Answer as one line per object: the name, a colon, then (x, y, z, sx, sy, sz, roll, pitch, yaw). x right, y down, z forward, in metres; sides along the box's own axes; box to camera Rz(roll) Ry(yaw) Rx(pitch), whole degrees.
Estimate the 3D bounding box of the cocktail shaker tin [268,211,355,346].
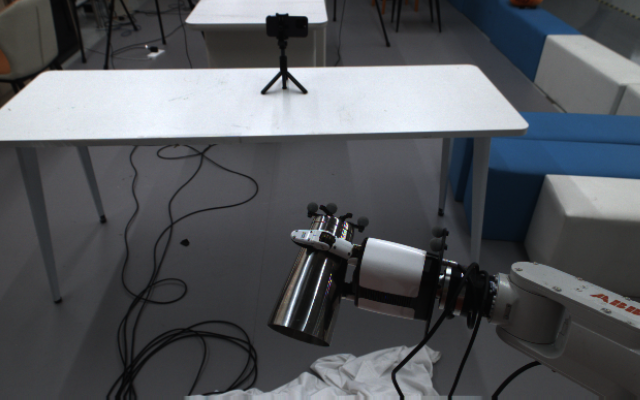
cocktail shaker tin: (-0.002, 0.108, 0.693, 0.093, 0.093, 0.170, 12, 65, 15)
